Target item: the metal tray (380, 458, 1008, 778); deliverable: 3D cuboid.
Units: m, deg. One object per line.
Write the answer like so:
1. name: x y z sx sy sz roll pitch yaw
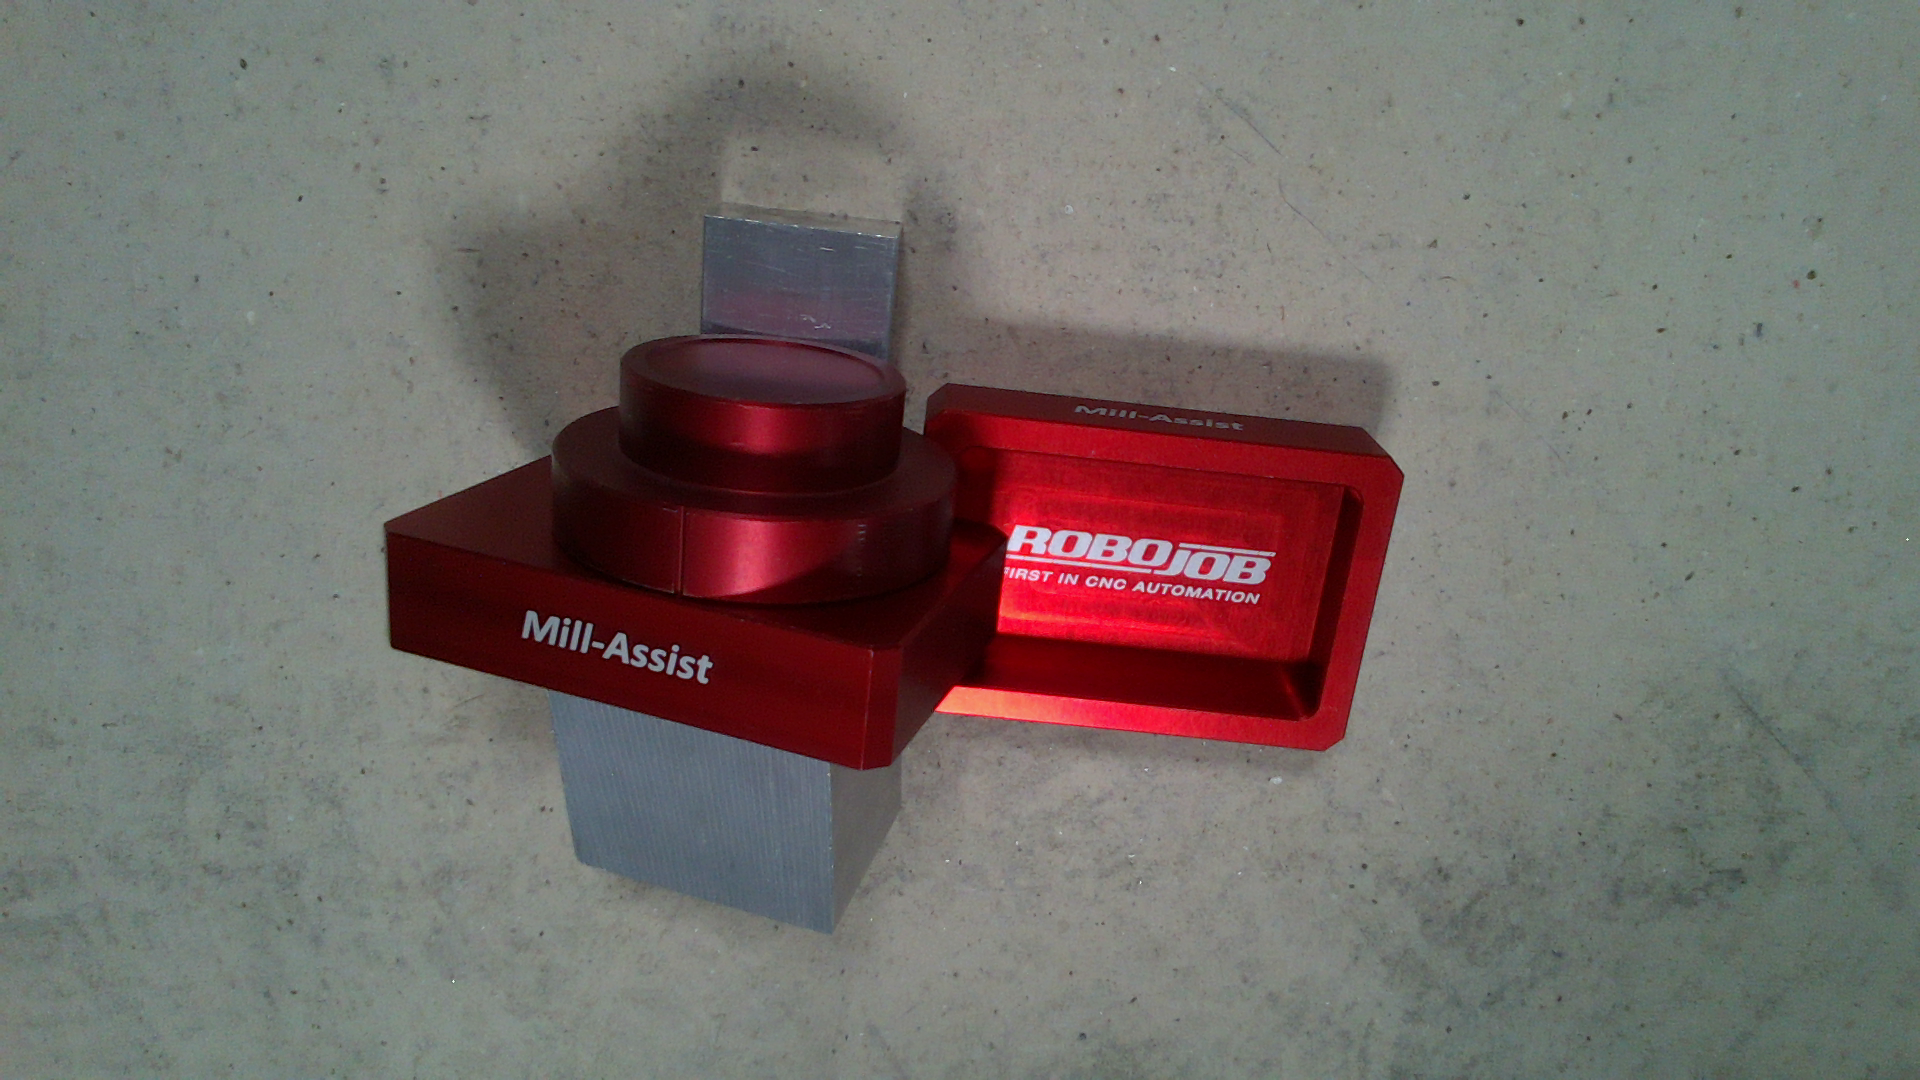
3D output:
1. metal tray: -0.063 0.011 0.345 0.130 0.090 0.030 13 112 15

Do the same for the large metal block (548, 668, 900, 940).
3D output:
1. large metal block: -0.063 0.054 0.380 0.080 0.050 0.080 12 124 14

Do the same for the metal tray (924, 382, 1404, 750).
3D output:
1. metal tray: 0.051 0.008 0.395 0.130 0.030 0.090 6 110 -2

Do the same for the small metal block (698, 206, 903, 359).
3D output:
1. small metal block: -0.043 -0.062 0.372 0.050 0.025 0.050 6 110 -2

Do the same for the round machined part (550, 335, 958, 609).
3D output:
1. round machined part: -0.049 -0.022 0.335 0.098 0.098 0.042 6 110 -2
